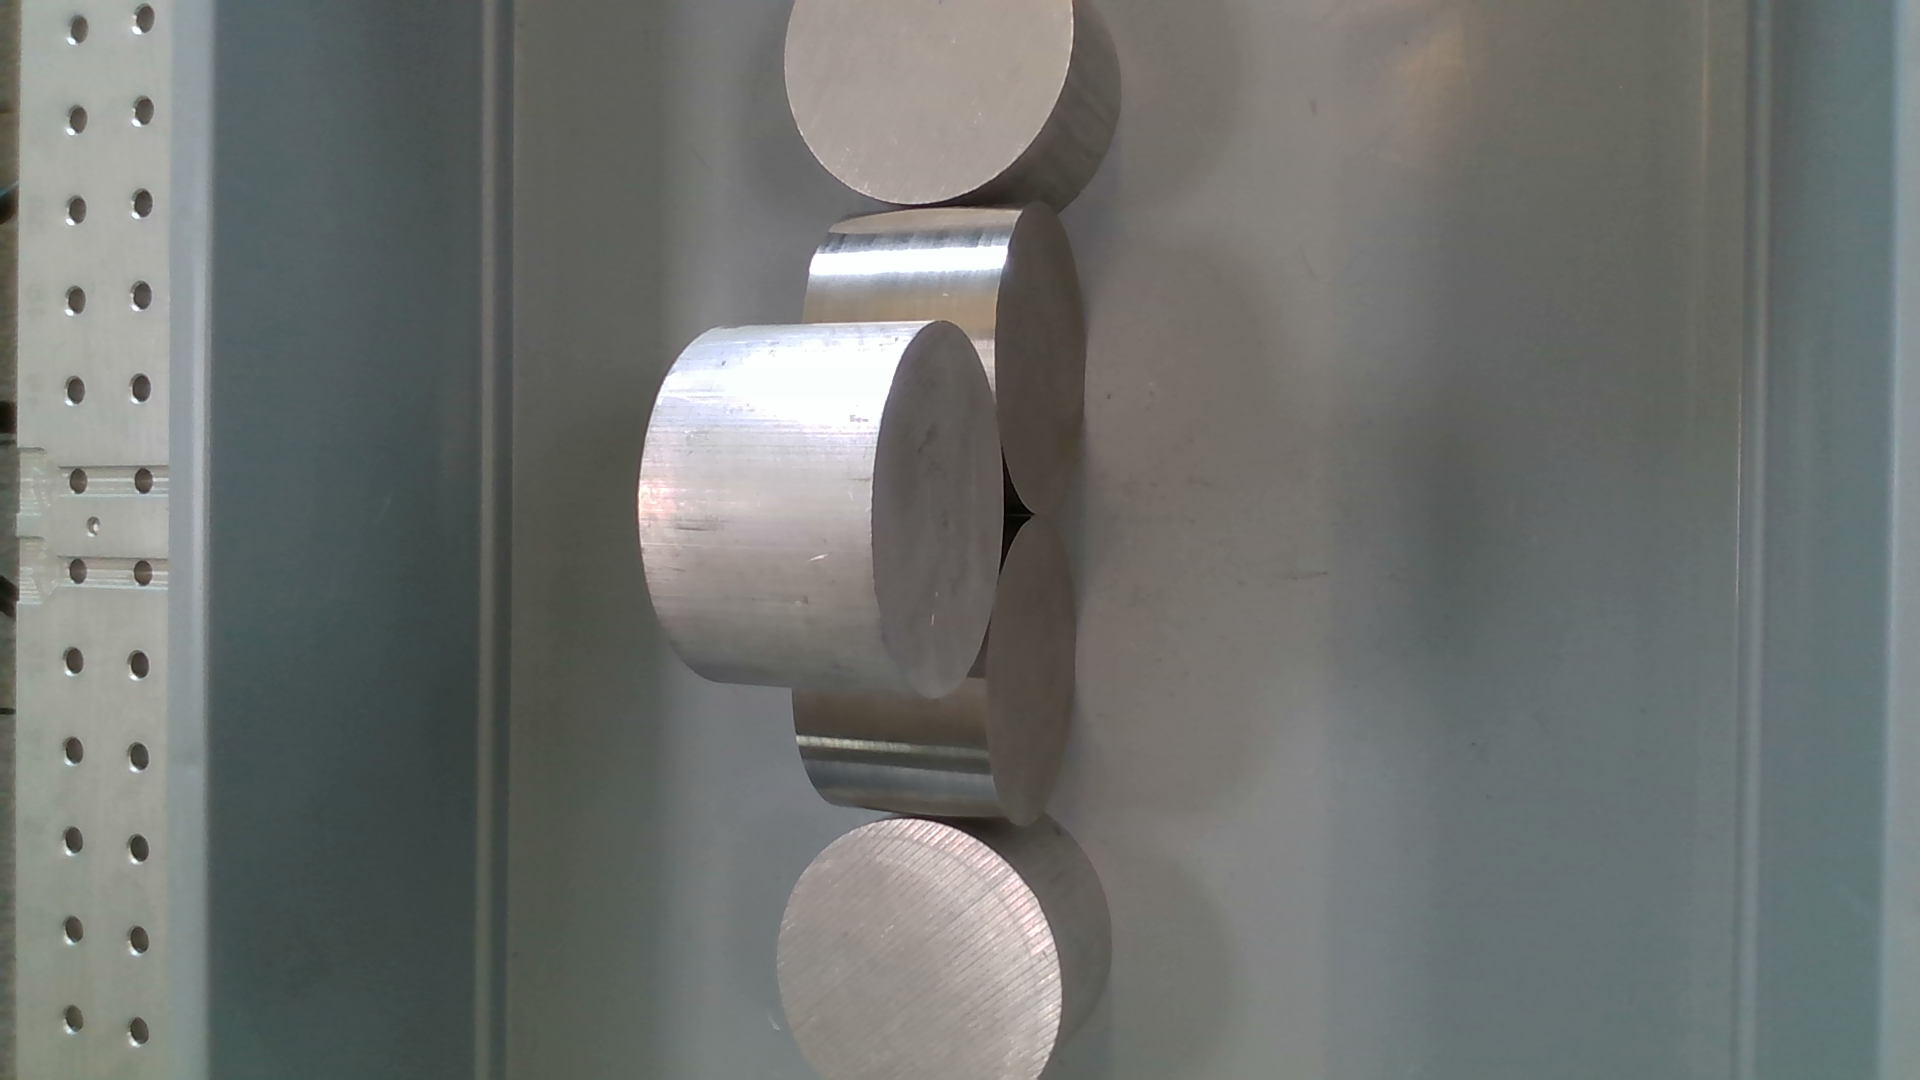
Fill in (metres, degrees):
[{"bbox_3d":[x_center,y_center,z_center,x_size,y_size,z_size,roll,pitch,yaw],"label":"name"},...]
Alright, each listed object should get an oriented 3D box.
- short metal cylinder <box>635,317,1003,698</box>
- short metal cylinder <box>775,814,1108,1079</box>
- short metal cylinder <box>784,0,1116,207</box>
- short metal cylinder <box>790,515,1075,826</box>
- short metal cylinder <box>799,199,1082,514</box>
[{"bbox_3d":[-0.027,-0.007,0.300,0.050,0.080,0.080,2,91,20],"label":"short metal cylinder"},{"bbox_3d":[-0.004,0.112,0.382,0.080,0.050,0.080,0,90,20],"label":"short metal cylinder"},{"bbox_3d":[-0.001,-0.128,0.379,0.080,0.050,0.080,0,90,20],"label":"short metal cylinder"},{"bbox_3d":[-0.004,0.033,0.365,0.050,0.080,0.080,2,91,20],"label":"short metal cylinder"},{"bbox_3d":[-0.002,-0.047,0.364,0.050,0.080,0.080,2,91,20],"label":"short metal cylinder"}]
